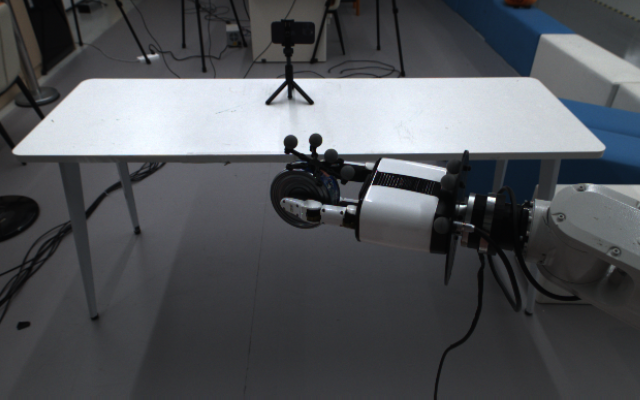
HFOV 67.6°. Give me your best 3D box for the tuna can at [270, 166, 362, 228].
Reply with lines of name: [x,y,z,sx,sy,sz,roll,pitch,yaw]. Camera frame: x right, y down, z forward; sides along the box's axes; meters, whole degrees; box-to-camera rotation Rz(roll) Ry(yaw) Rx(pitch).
tuna can: [-0.016,0.000,0.616,0.085,0.085,0.034,15,31,18]
